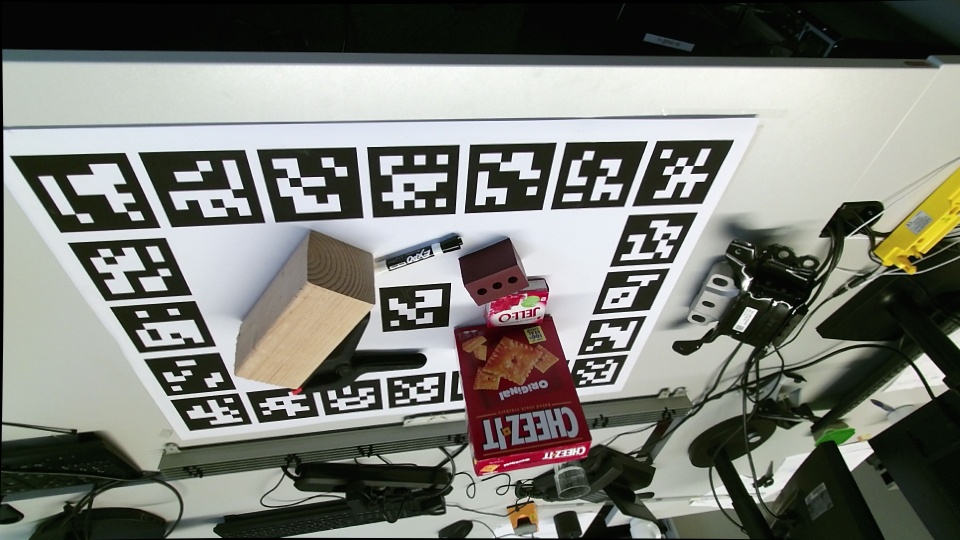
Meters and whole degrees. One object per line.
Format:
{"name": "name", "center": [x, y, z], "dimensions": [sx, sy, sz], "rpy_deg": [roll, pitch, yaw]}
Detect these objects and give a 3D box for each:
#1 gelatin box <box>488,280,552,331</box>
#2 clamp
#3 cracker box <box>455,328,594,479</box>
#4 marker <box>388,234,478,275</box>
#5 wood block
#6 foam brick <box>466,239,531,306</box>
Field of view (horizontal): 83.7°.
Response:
{"name": "gelatin box", "center": [0.059, 0.053, 0.799], "dimensions": [0.090, 0.030, 0.073], "rpy_deg": [-5, 132, -10]}
{"name": "clamp", "center": [-0.197, 0.151, 0.817], "dimensions": [0.203, 0.036, 0.166], "rpy_deg": [-27, 133, 11]}
{"name": "cracker box", "center": [0.056, 0.194, 0.794], "dimensions": [0.165, 0.212, 0.072], "rpy_deg": [-6, 135, -7]}
{"name": "marker", "center": [-0.060, -0.021, 0.699], "dimensions": [0.121, 0.019, 0.020], "rpy_deg": [-19, 133, 3]}
{"name": "wood block", "center": [-0.219, 0.059, 0.691], "dimensions": [0.090, 0.090, 0.206], "rpy_deg": [24, 126, -35]}
{"name": "foam brick", "center": [0.028, 0.005, 0.726], "dimensions": [0.078, 0.051, 0.053], "rpy_deg": [-22, 133, 6]}
